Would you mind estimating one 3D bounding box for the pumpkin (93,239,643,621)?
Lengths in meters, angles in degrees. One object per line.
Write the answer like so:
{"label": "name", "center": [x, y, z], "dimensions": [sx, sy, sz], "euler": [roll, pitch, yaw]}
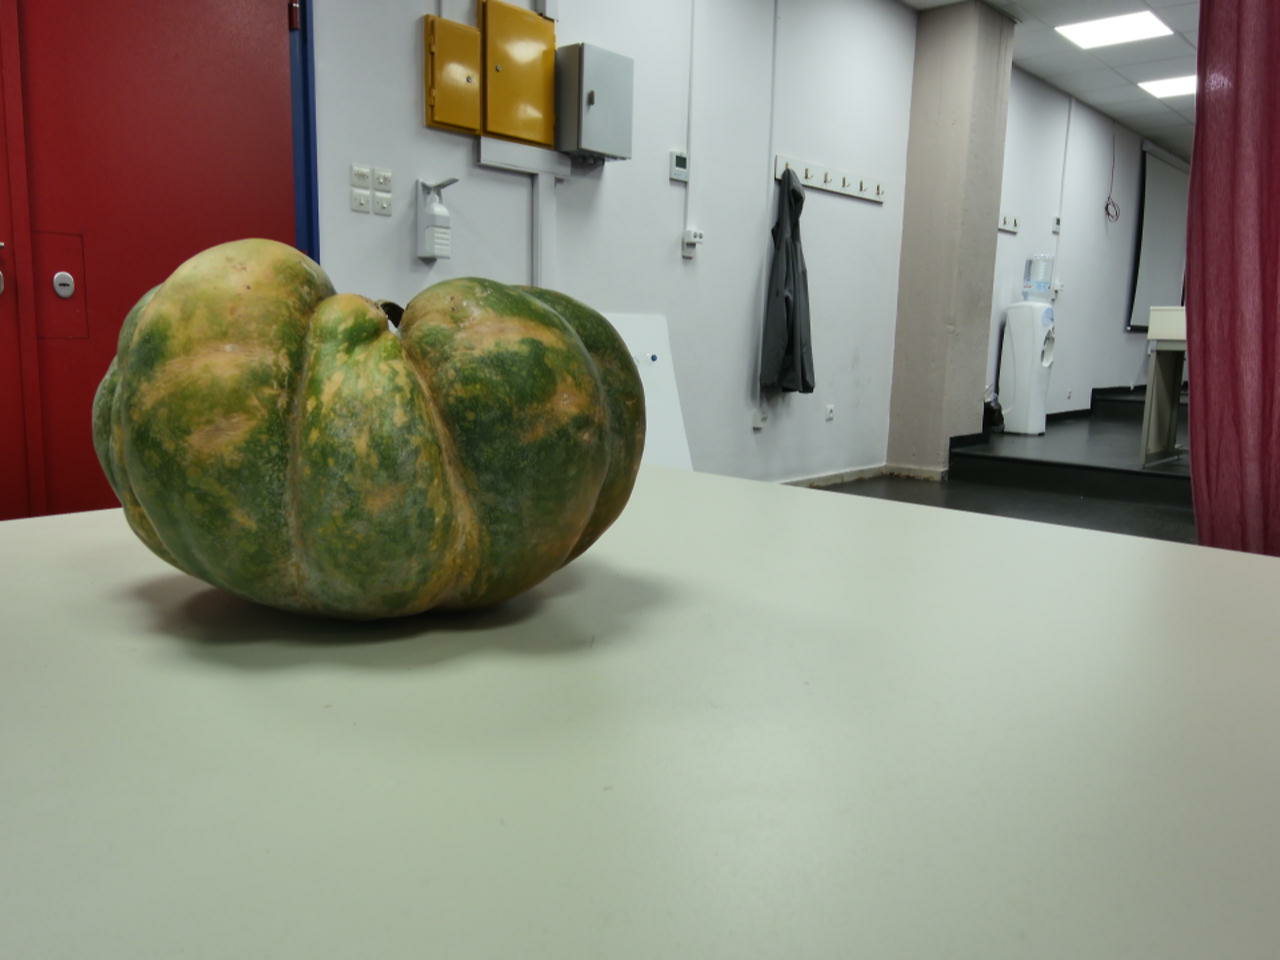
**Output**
{"label": "pumpkin", "center": [-0.134, -0.024, 0.501], "dimensions": [0.270, 0.173, 0.237], "euler": [-1, 7, -12]}
